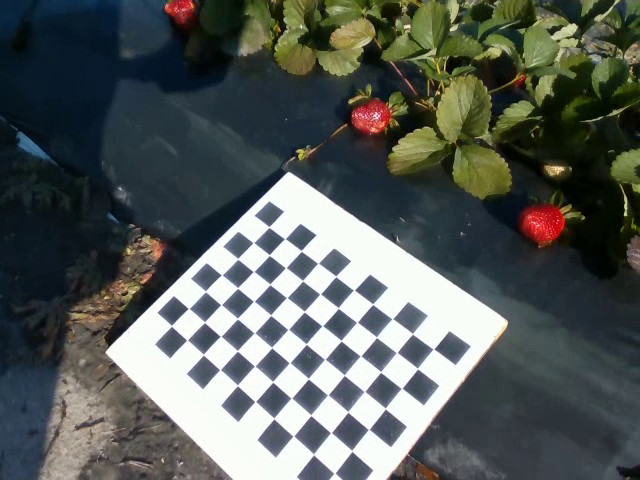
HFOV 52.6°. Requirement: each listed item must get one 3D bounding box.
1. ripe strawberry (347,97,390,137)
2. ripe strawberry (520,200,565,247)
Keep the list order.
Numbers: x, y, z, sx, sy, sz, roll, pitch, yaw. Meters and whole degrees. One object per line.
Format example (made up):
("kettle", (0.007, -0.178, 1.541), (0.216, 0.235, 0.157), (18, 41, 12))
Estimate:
("ripe strawberry", (0.050, -0.129, 0.662), (0.053, 0.043, 0.042), (-11, 52, -49))
("ripe strawberry", (0.194, -0.014, 0.568), (0.050, 0.043, 0.043), (10, -36, -41))
